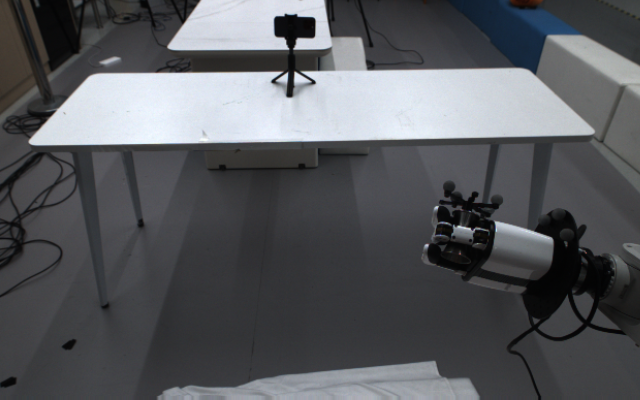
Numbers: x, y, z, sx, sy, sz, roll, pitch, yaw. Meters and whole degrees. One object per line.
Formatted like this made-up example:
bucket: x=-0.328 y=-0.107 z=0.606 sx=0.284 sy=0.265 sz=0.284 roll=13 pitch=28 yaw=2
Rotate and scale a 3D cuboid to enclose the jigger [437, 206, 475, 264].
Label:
jigger: x=0.205 y=0.051 z=0.699 sx=0.043 sy=0.043 sz=0.071 roll=13 pitch=72 yaw=15
